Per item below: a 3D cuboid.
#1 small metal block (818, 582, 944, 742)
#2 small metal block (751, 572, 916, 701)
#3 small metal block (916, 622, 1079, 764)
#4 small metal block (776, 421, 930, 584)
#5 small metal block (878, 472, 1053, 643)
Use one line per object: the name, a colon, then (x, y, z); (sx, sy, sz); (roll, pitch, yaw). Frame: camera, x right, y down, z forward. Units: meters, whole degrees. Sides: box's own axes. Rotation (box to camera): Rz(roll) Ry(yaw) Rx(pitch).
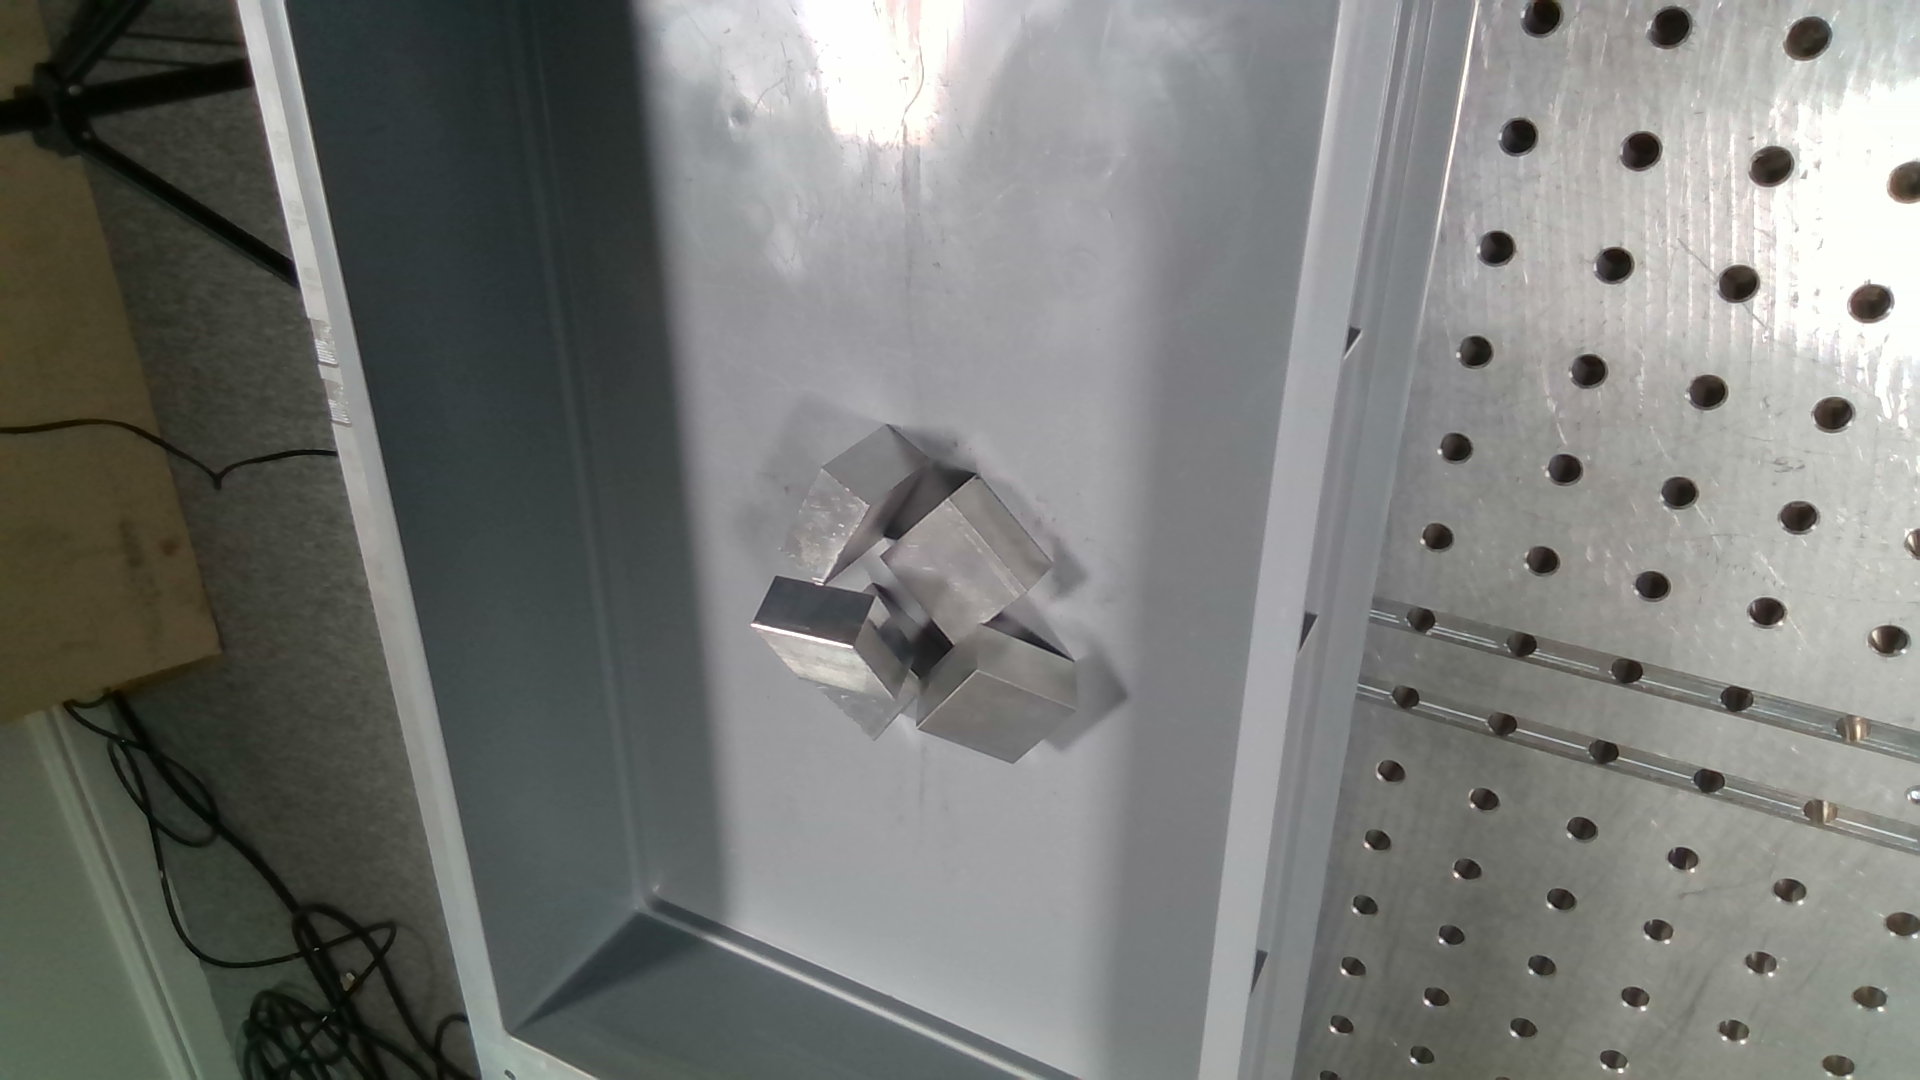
small metal block: (-0.040, 0.056, 0.633); (0.050, 0.025, 0.050); (44, 129, 4)
small metal block: (-0.053, 0.041, 0.587); (0.050, 0.025, 0.050); (10, 152, 27)
small metal block: (0.016, 0.067, 0.591); (0.050, 0.025, 0.050); (23, 133, -22)
small metal block: (-0.045, -0.016, 0.580); (0.025, 0.050, 0.050); (39, 129, 8)
small metal block: (0.002, 0.008, 0.580); (0.050, 0.025, 0.050); (50, 129, -1)
